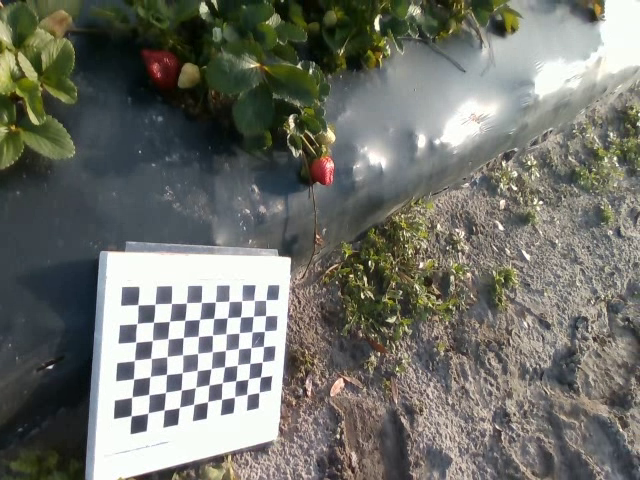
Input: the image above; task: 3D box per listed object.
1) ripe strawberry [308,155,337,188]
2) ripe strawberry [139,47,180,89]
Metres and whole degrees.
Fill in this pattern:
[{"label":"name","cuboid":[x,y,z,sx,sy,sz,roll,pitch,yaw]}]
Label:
[{"label":"ripe strawberry","cuboid":[0.013,-0.110,0.975,0.047,0.050,0.034,-25,15,-40]},{"label":"ripe strawberry","cuboid":[-0.230,-0.242,0.861,0.057,0.058,0.070,9,-6,21]}]
